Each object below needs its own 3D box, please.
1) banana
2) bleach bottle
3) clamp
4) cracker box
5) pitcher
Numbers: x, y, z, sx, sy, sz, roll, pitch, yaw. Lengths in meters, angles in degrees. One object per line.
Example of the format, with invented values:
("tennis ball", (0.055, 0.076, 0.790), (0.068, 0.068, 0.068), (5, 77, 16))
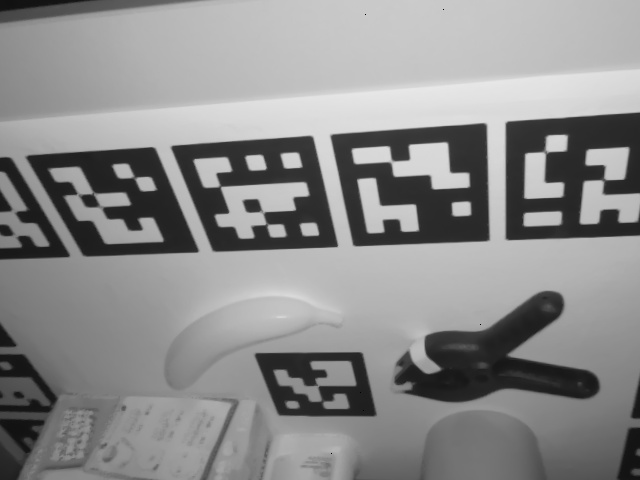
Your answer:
("banana", (-0.071, 0.049, 0.600), (0.194, 0.039, 0.074), (-33, 120, 31))
("bleach bottle", (-0.008, 0.268, 0.633), (0.102, 0.253, 0.067), (-3, 132, 11))
("clamp", (0.147, 0.061, 0.569), (0.163, 0.037, 0.122), (-16, 129, 23))
("cracker box", (-0.168, 0.201, 0.634), (0.213, 0.166, 0.071), (-2, 134, 9))
("pitcher", (0.166, 0.242, 0.559), (0.186, 0.245, 0.133), (-17, 127, 25))
